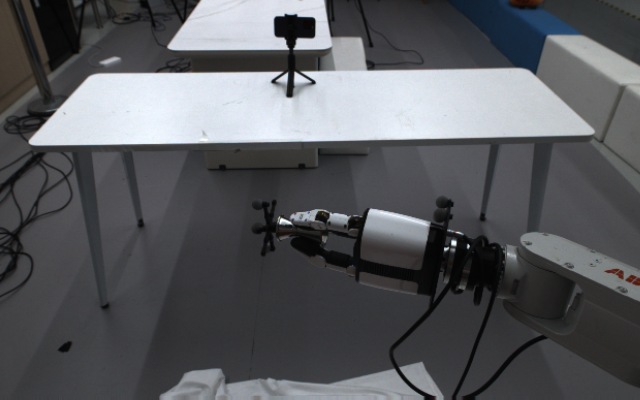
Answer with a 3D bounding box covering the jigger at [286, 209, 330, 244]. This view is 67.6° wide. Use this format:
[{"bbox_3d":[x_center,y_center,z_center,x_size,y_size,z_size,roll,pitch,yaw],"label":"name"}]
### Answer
[{"bbox_3d":[-0.018,0.039,0.700,0.071,0.043,0.043,3,34,12],"label":"jigger"}]
